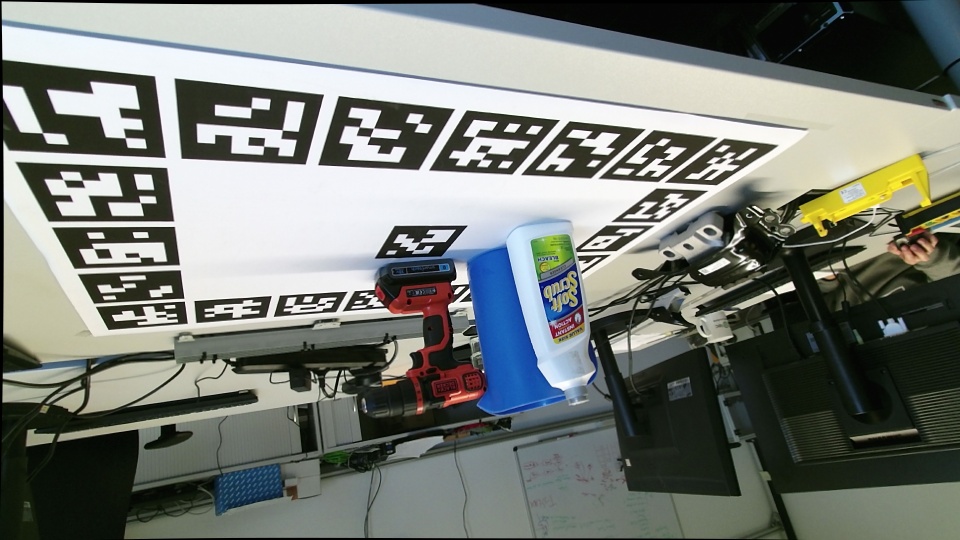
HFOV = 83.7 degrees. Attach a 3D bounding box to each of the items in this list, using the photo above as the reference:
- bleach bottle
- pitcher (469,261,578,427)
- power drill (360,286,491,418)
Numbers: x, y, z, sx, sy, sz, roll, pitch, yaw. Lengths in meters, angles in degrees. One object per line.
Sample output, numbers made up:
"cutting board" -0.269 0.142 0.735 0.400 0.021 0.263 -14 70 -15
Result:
"bleach bottle" 0.129 0.081 0.749 0.103 0.249 0.068 -8 157 -21
"pitcher" 0.074 0.109 0.833 0.189 0.241 0.133 -15 157 -3
"power drill" -0.085 0.118 0.774 0.185 0.186 0.057 -1 151 -20
